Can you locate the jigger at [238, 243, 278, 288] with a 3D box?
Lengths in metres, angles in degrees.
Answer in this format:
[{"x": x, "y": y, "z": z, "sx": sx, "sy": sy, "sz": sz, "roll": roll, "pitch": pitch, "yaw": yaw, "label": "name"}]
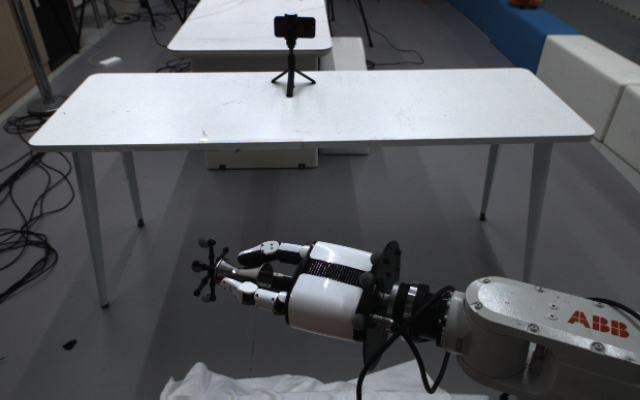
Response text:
[{"x": -0.097, "y": 0.100, "z": 0.654, "sx": 0.071, "sy": 0.043, "sz": 0.043, "roll": 5, "pitch": 33, "yaw": 22, "label": "jigger"}]
